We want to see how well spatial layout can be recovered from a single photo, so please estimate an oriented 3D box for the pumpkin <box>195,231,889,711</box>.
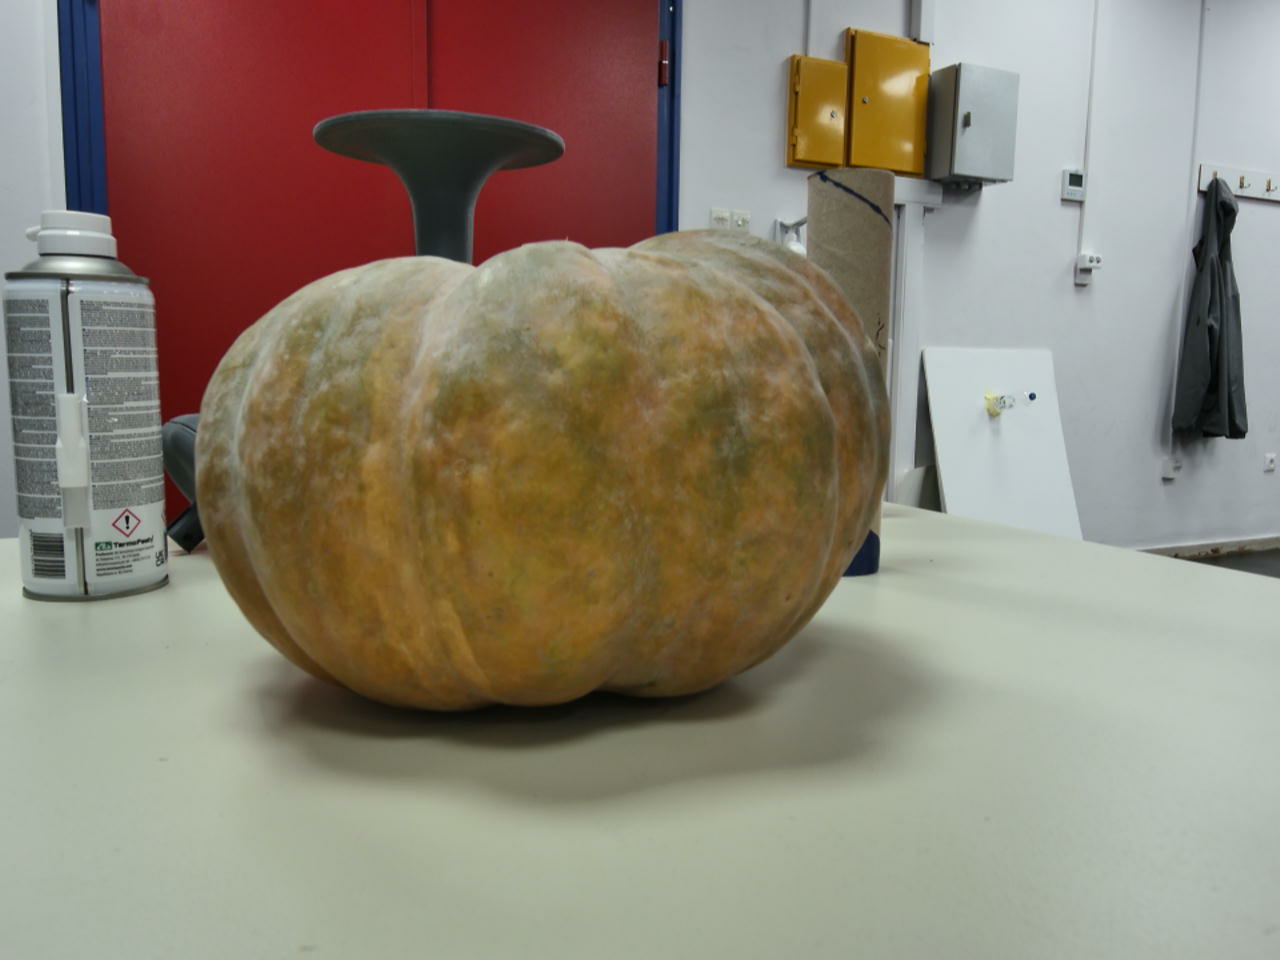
[{"bbox_3d":[-0.036,-0.009,0.378,0.252,0.168,0.252,0,4,0],"label":"pumpkin"}]
